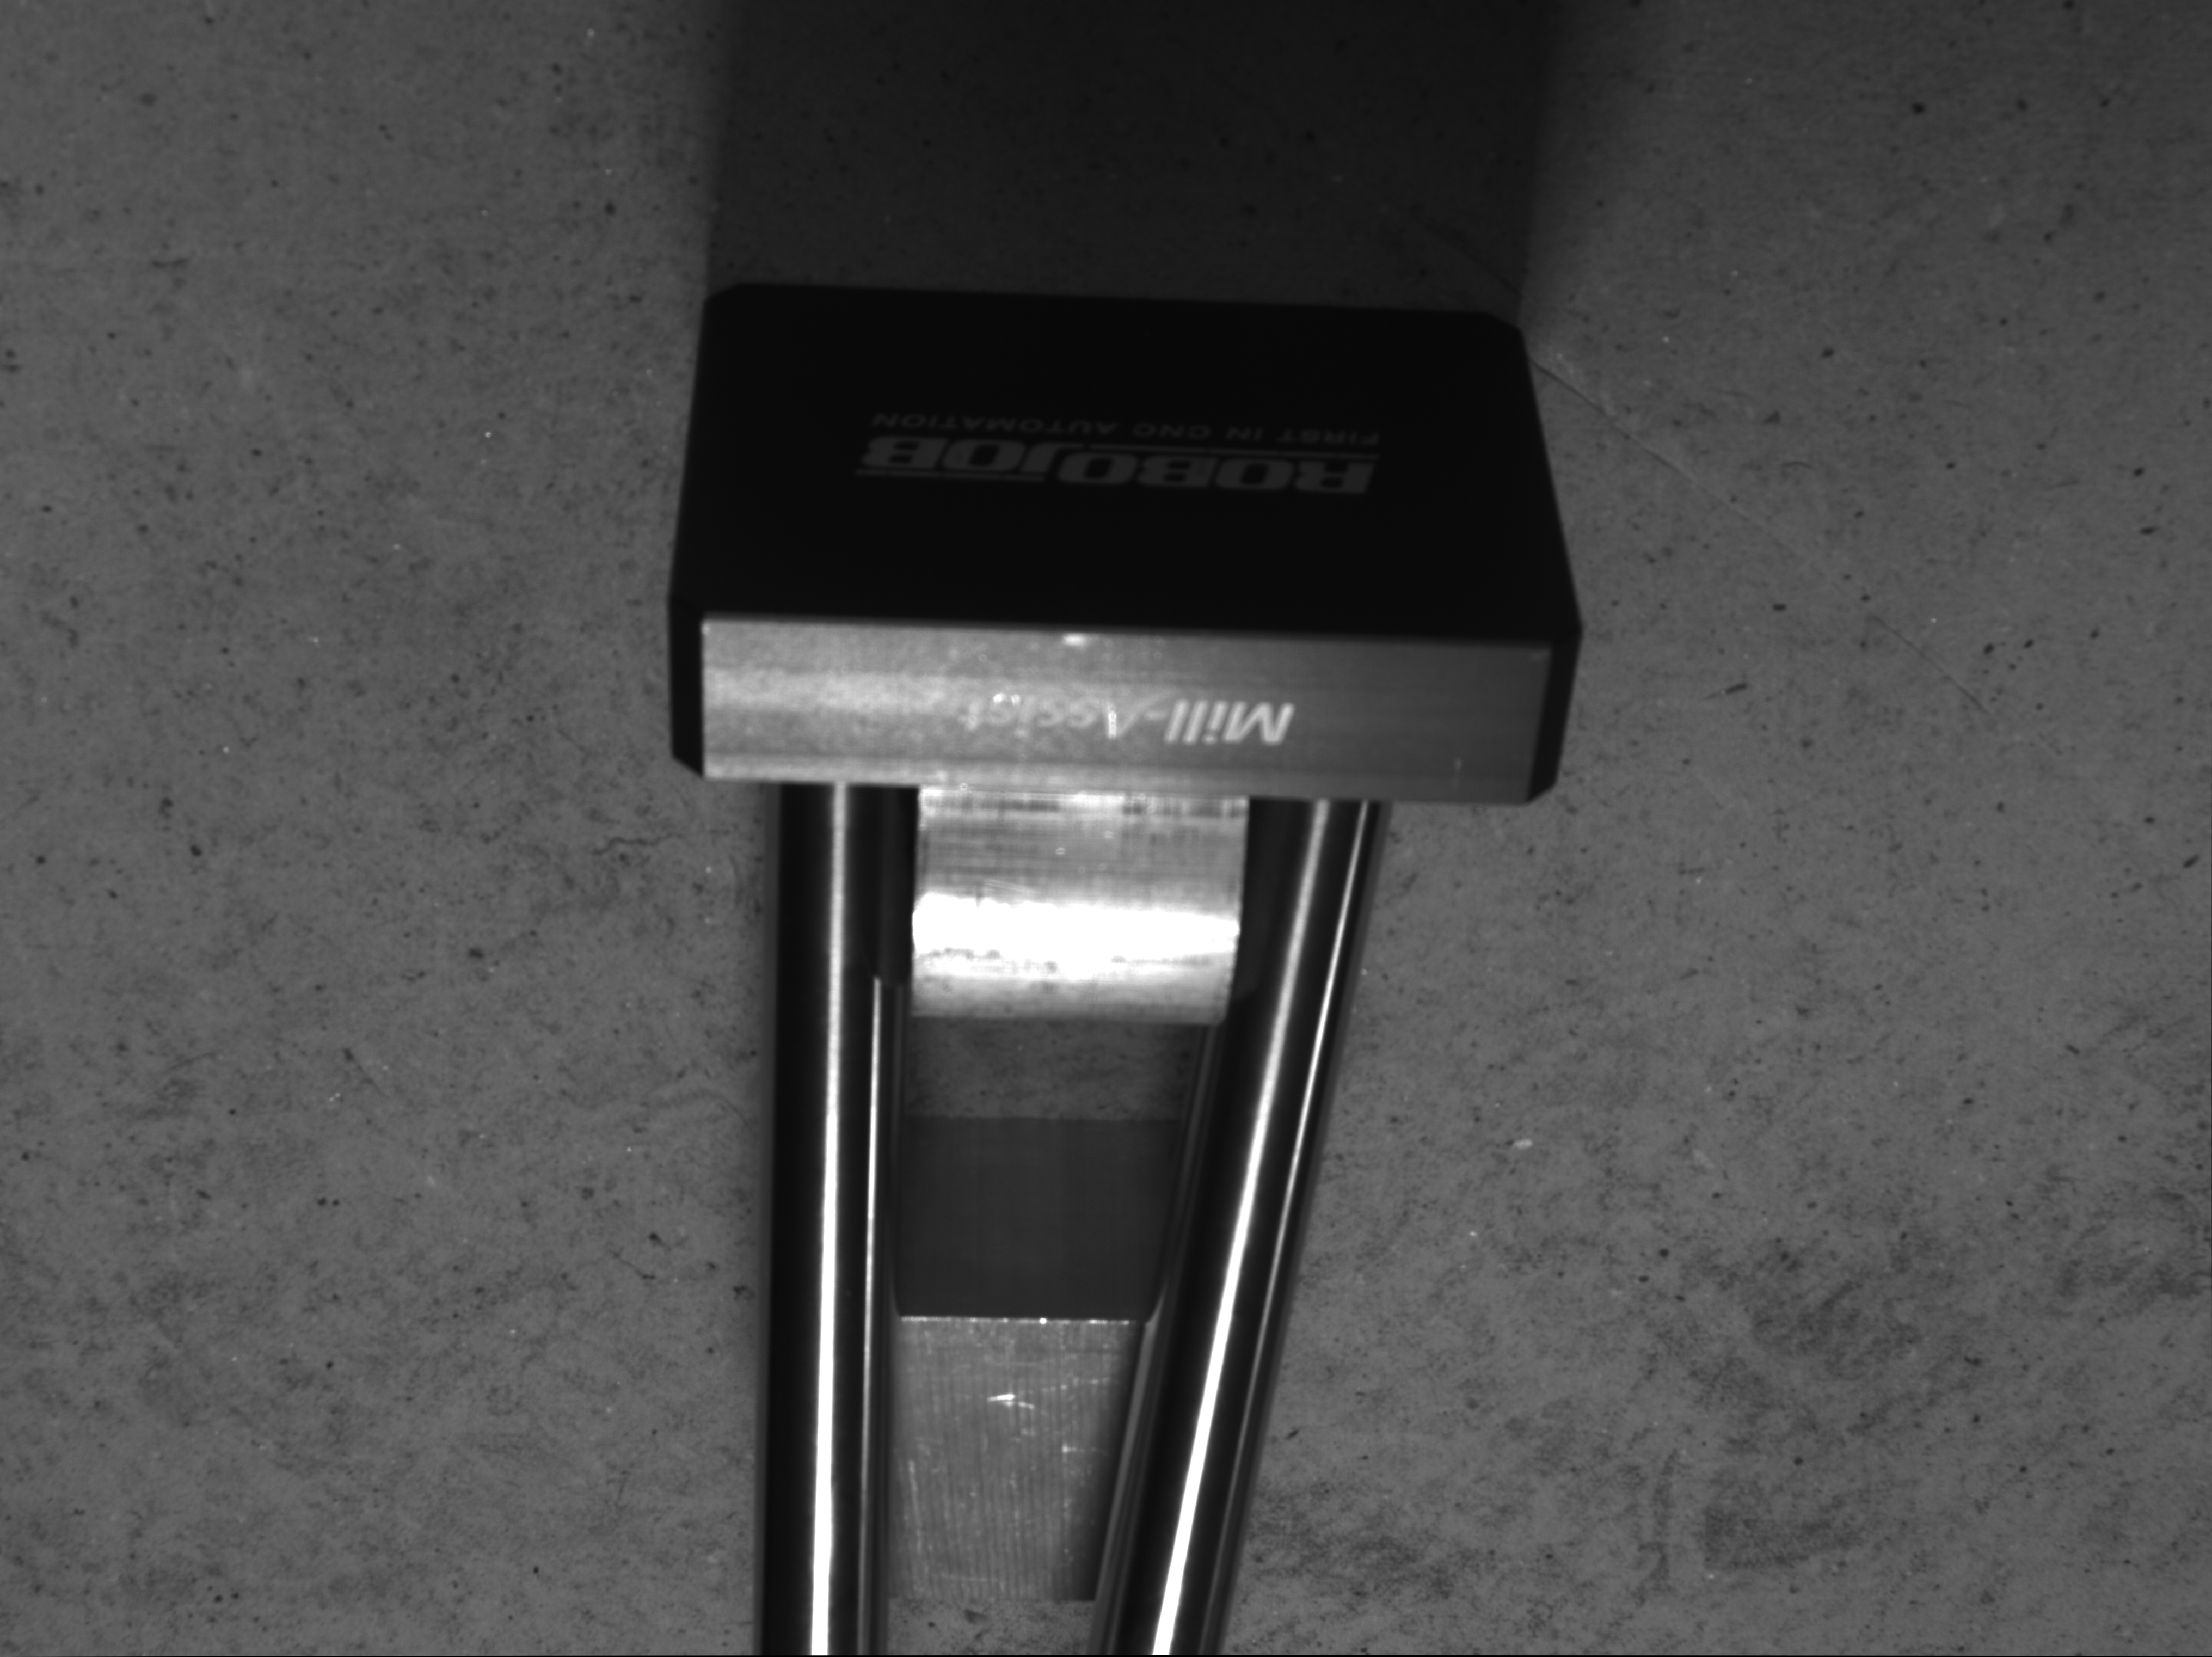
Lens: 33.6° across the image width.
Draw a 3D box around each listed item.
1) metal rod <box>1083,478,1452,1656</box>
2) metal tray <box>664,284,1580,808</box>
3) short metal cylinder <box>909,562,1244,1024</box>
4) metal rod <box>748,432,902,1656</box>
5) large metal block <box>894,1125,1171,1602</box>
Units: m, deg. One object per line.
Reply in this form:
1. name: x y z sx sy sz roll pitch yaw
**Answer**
1. metal rod: 0.021 0.078 0.644 0.025 0.025 0.300 6 114 -7
2. metal tray: 0.001 -0.045 0.558 0.130 0.090 0.030 2 130 -3
3. short metal cylinder: -0.006 -0.009 0.596 0.050 0.080 0.080 1 130 -3
4. metal rod: -0.050 0.075 0.640 0.025 0.025 0.300 1 115 -3
5. large metal block: -0.016 0.104 0.706 0.080 0.050 0.080 1 130 -3
